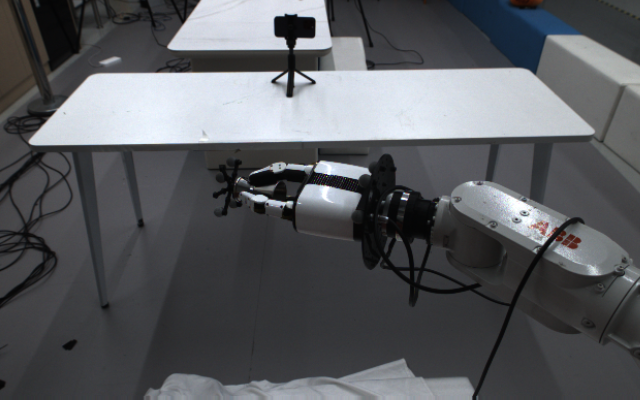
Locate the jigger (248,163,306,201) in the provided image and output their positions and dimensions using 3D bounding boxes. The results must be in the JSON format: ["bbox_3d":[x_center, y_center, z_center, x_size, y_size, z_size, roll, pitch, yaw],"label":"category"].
[{"bbox_3d":[-0.085,-0.014,0.724,0.071,0.043,0.043,10,35,22],"label":"jigger"}]
